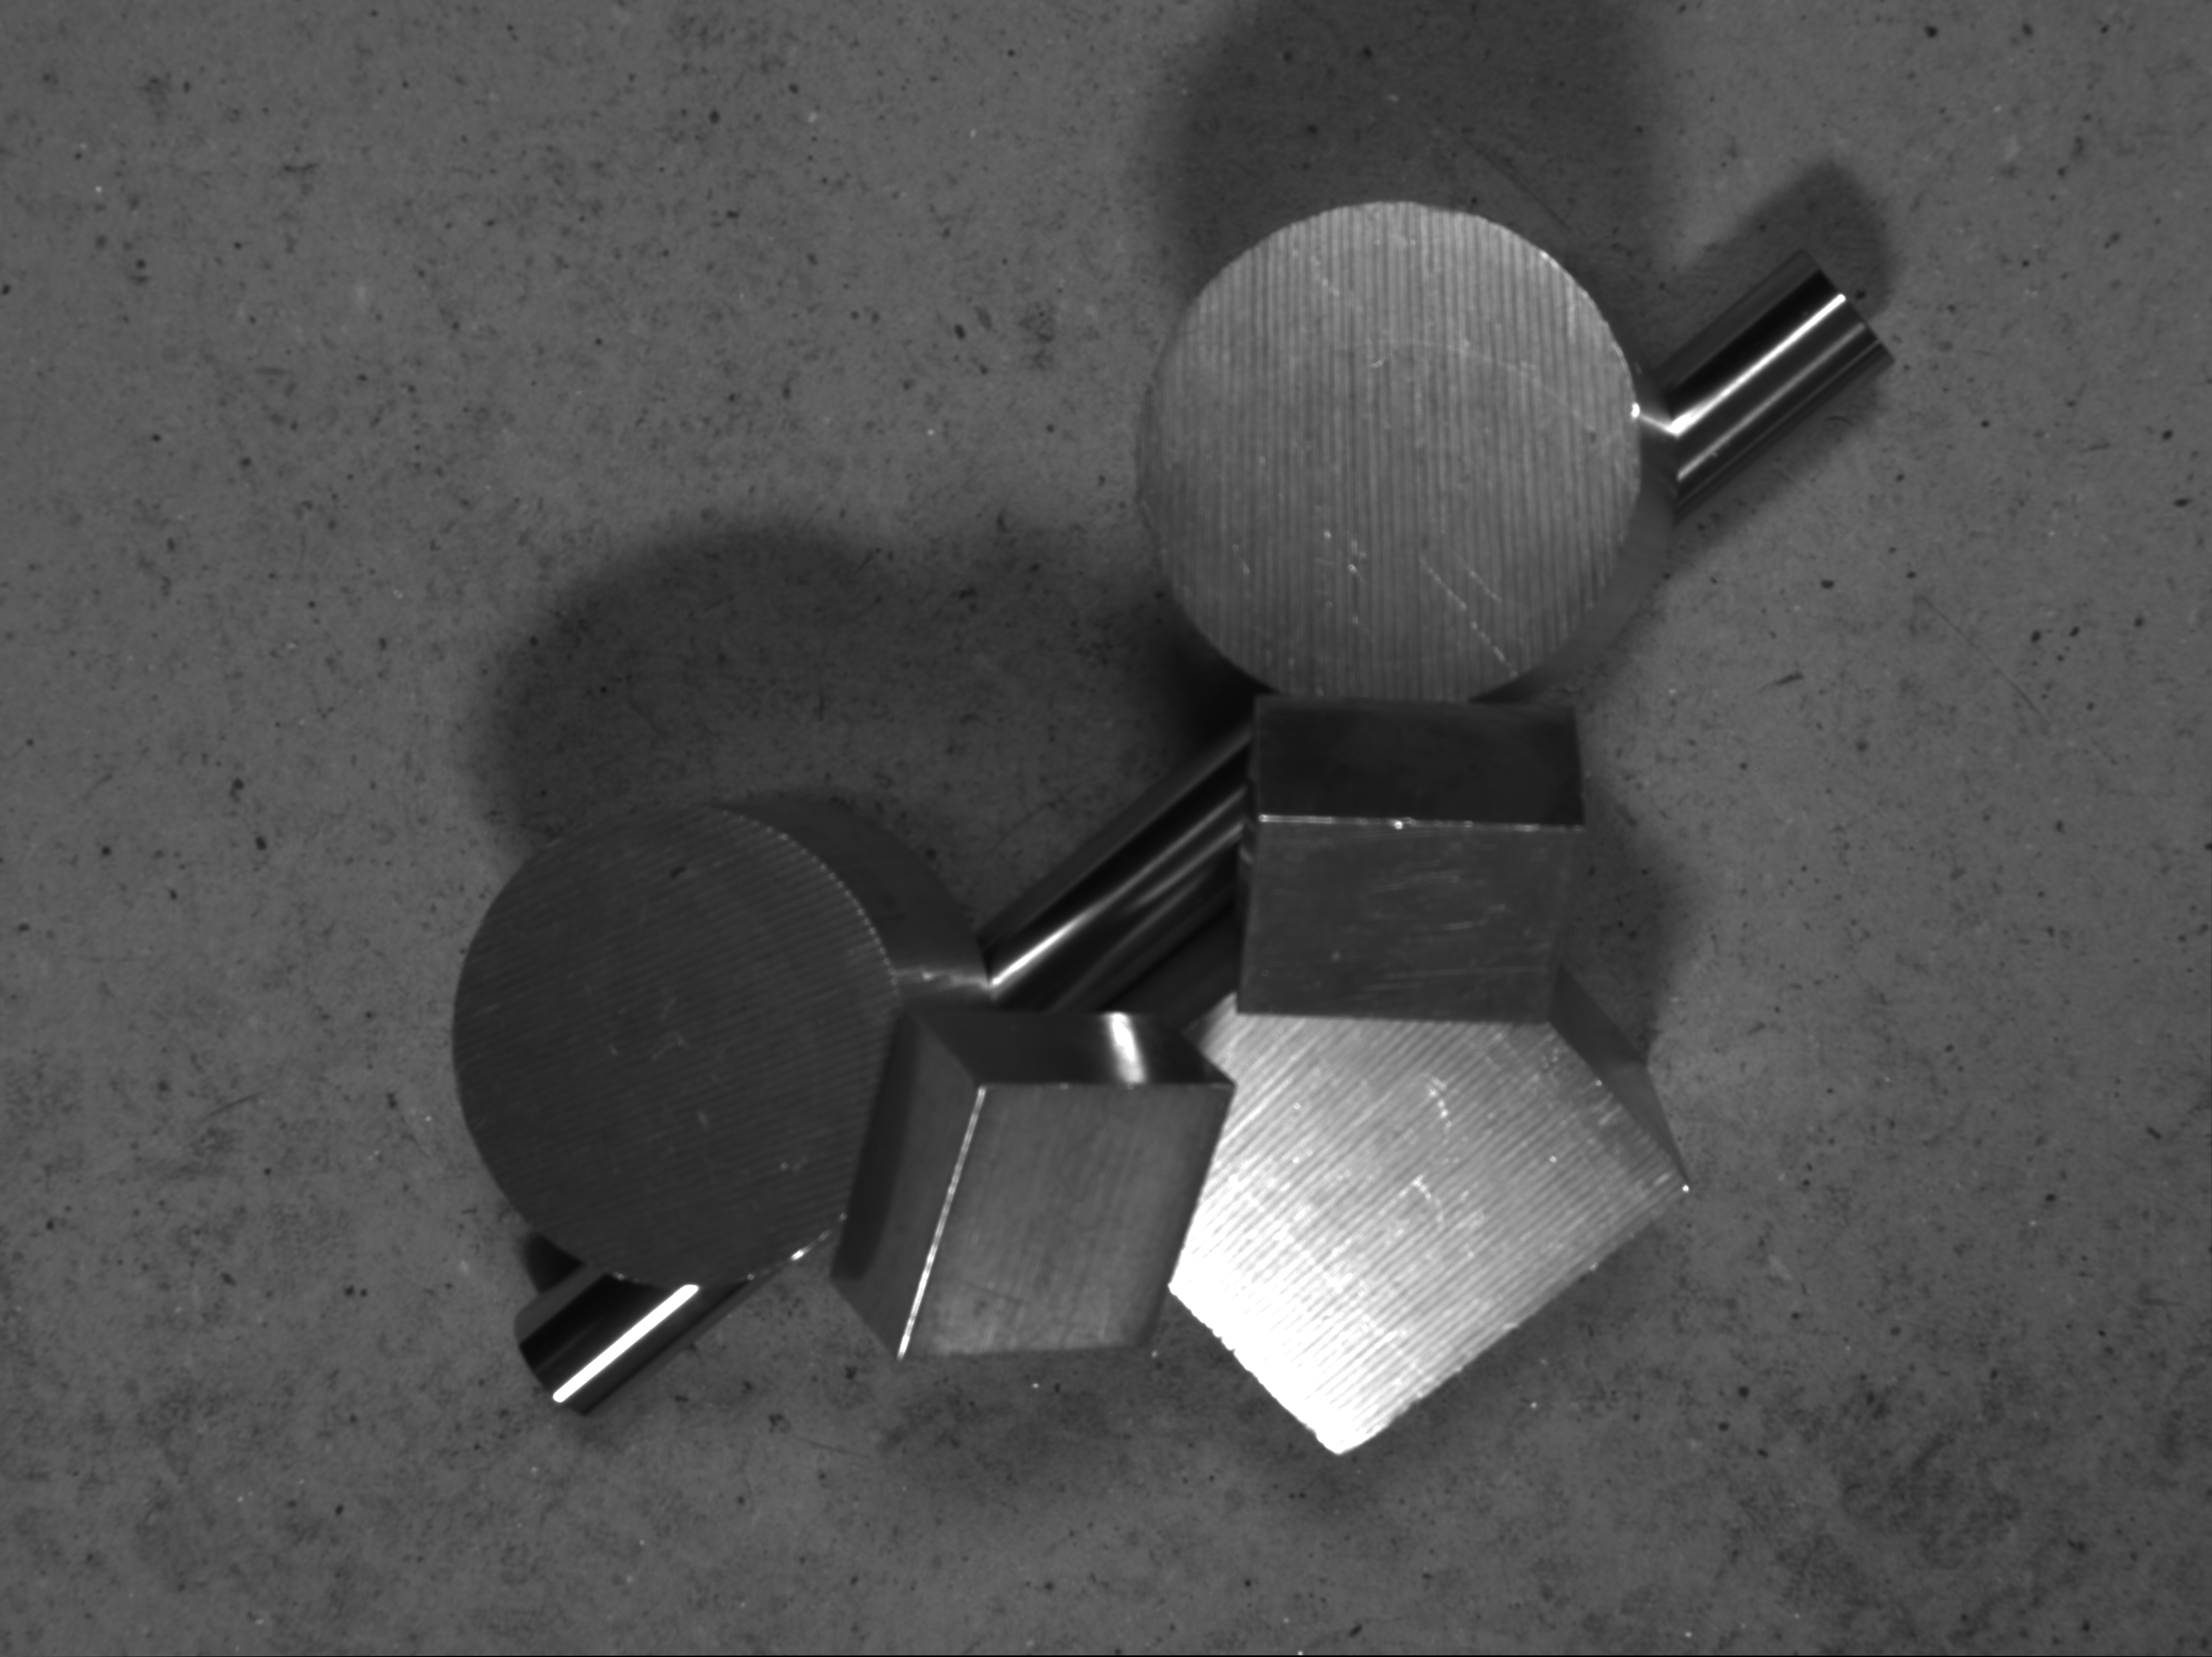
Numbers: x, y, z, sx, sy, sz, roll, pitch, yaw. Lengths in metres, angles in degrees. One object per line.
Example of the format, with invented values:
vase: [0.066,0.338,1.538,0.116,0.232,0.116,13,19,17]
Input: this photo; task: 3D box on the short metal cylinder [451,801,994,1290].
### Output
short metal cylinder: [-0.065,0.036,0.627,0.080,0.050,0.080,0,92,15]

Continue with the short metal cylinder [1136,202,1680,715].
short metal cylinder: [0.050,-0.058,0.594,0.080,0.050,0.080,0,92,15]

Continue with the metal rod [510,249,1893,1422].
metal rod: [0.011,0.006,0.645,0.300,0.025,0.025,-40,106,13]

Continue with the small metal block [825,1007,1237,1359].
small metal block: [-0.012,0.057,0.598,0.050,0.025,0.050,3,114,-36]

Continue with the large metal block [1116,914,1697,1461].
large metal block: [0.044,0.049,0.647,0.080,0.050,0.080,-40,106,13]

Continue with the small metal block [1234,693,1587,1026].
small metal block: [0.047,0.005,0.579,0.050,0.025,0.050,2,140,-1]
